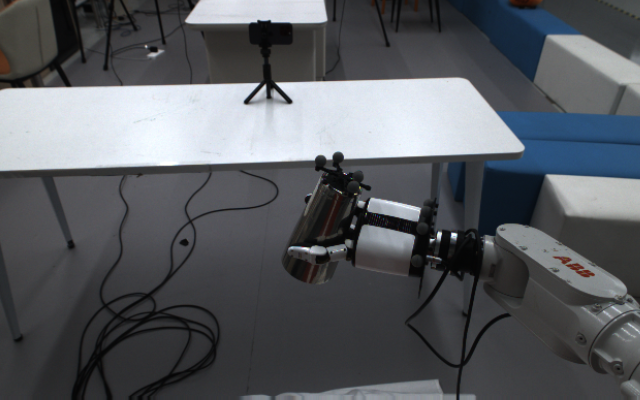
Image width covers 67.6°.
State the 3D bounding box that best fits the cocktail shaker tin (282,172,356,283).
[{"bbox_3d":[0.007,0.037,0.765,0.093,0.170,0.093,15,32,-10],"label":"cocktail shaker tin"}]
